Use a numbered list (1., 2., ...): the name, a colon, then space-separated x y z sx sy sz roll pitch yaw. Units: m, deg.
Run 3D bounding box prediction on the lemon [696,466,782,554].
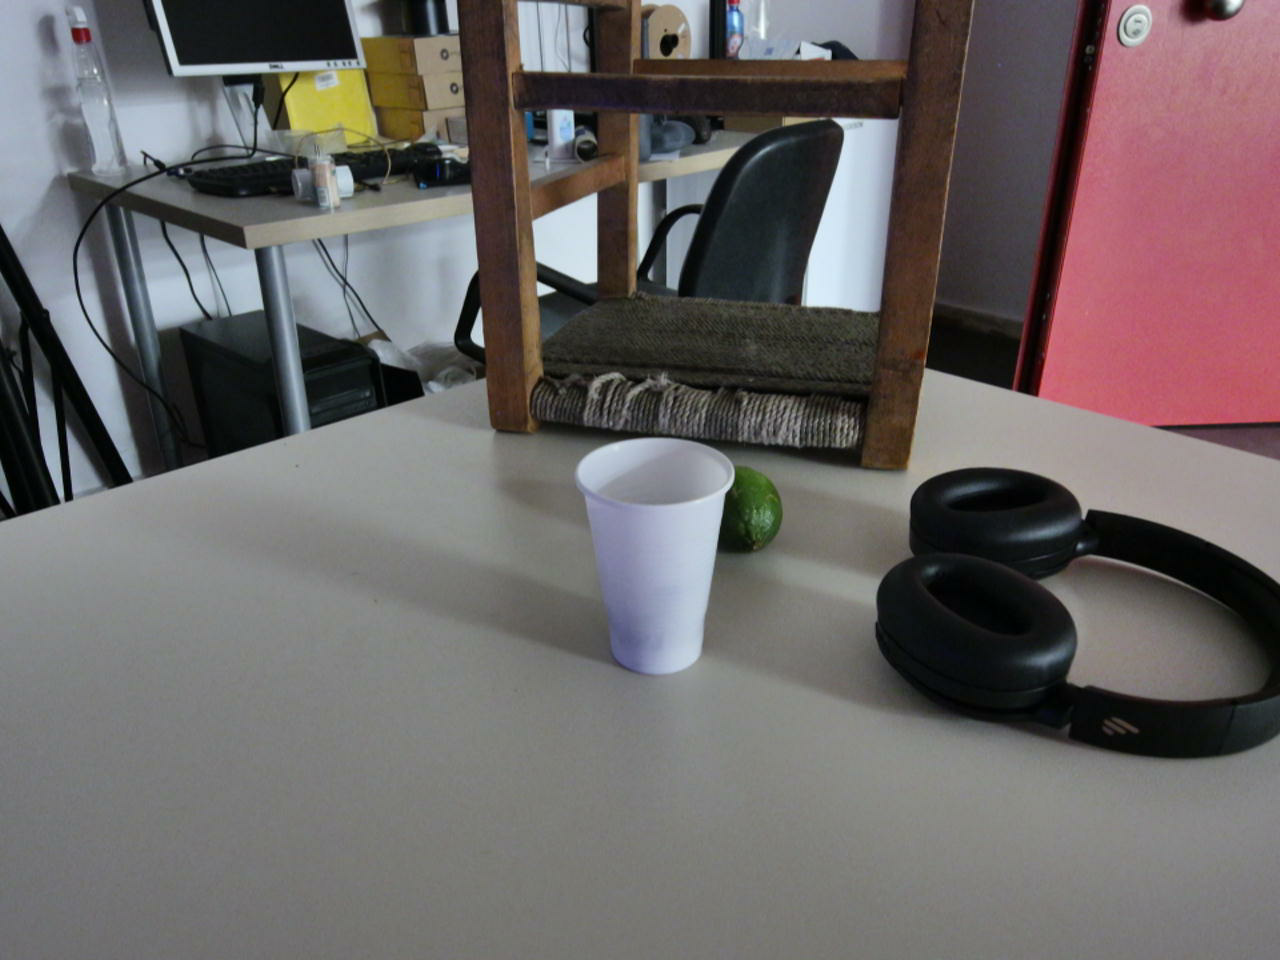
1. lemon: 0.061 0.018 0.617 0.057 0.051 0.054 22 32 39
